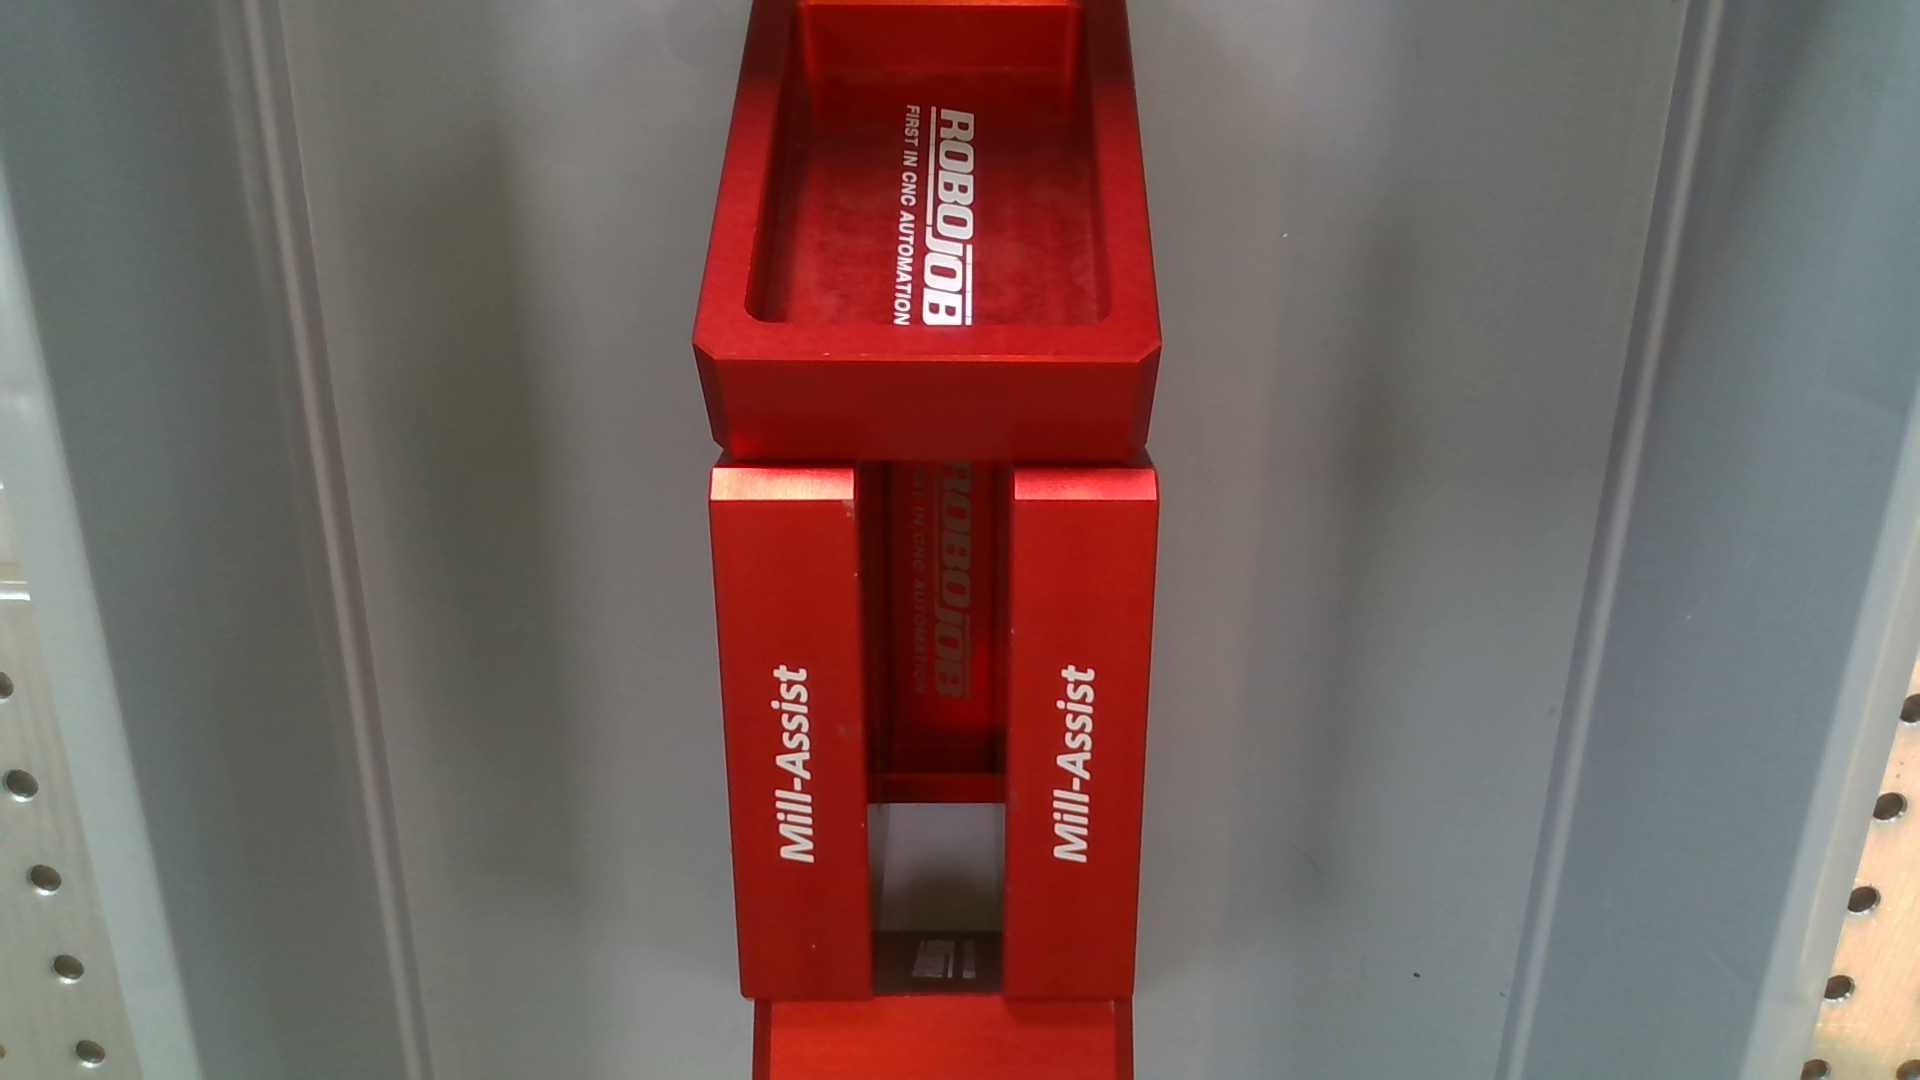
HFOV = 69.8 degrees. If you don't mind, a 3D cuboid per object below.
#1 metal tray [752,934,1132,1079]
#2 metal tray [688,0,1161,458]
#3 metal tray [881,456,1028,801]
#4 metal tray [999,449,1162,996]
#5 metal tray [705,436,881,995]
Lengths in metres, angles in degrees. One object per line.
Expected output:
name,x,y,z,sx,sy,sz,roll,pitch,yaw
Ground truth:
metal tray,-0.004,0.132,0.386,0.090,0.130,0.030,0,80,0
metal tray,-0.006,-0.077,0.310,0.090,0.130,0.030,1,142,1
metal tray,-0.006,0.011,0.394,0.090,0.030,0.130,0,111,0
metal tray,0.025,0.032,0.337,0.030,0.090,0.130,0,110,0
metal tray,-0.036,0.032,0.338,0.030,0.090,0.130,0,111,0
